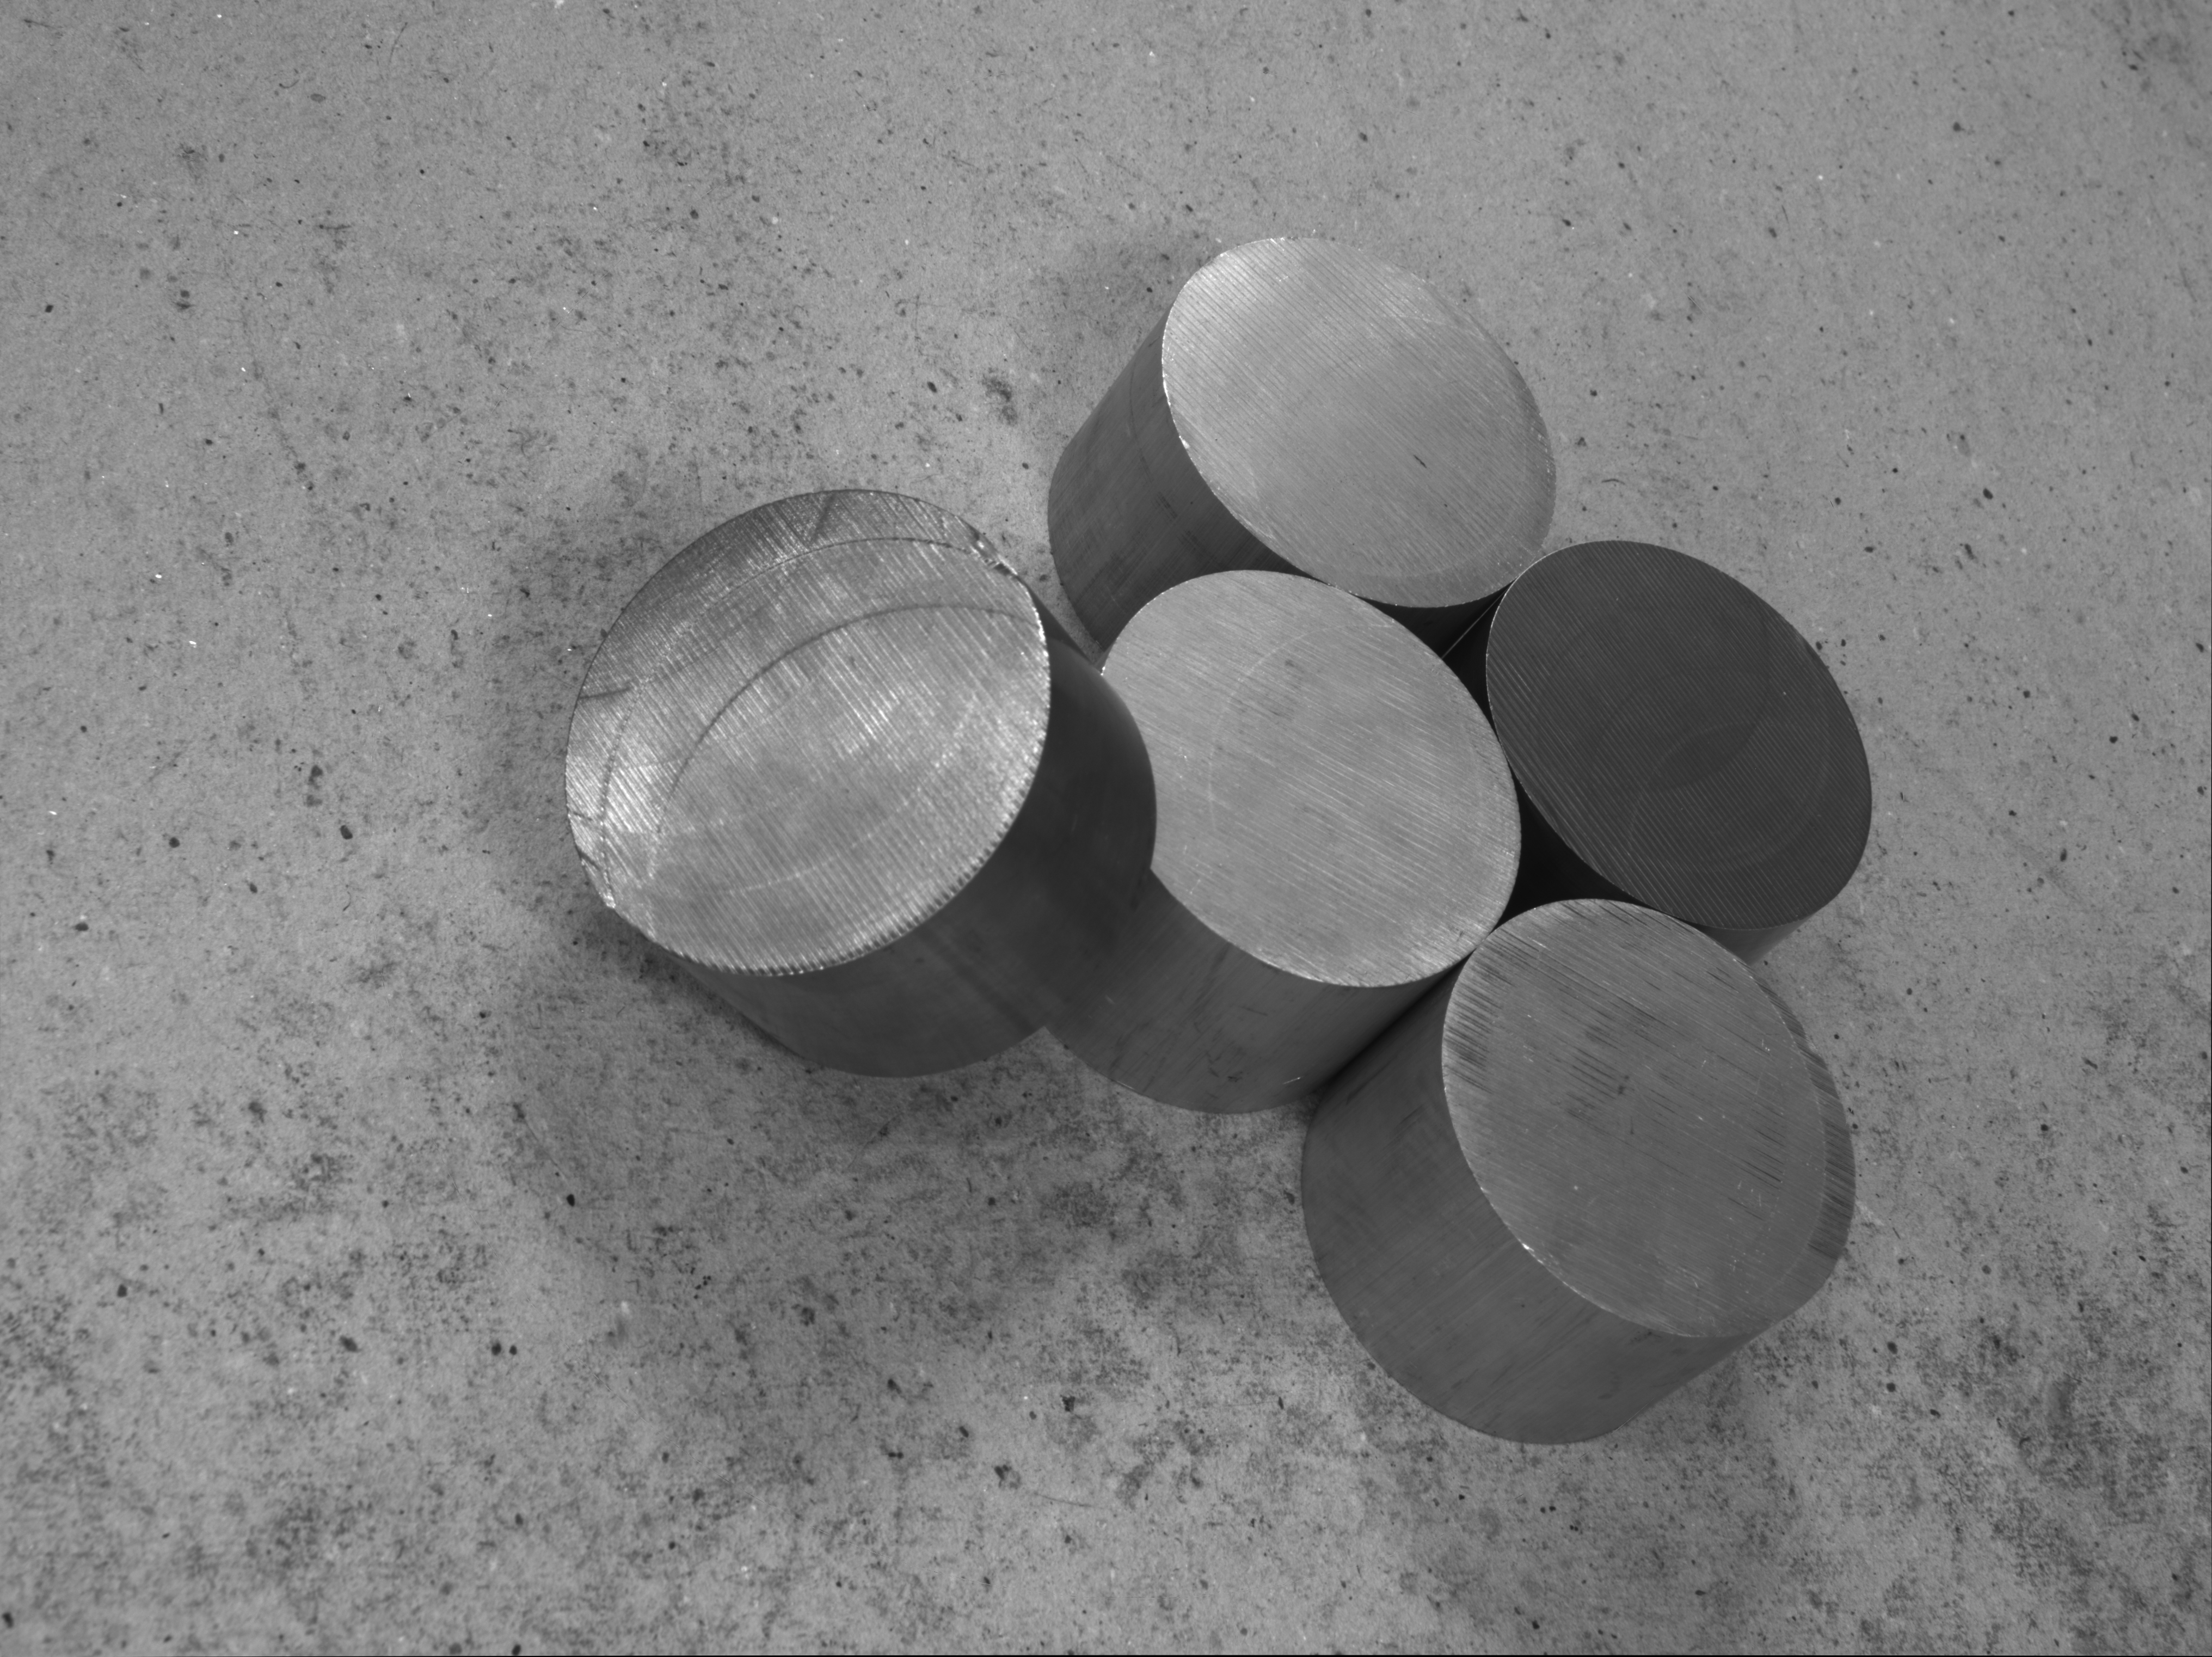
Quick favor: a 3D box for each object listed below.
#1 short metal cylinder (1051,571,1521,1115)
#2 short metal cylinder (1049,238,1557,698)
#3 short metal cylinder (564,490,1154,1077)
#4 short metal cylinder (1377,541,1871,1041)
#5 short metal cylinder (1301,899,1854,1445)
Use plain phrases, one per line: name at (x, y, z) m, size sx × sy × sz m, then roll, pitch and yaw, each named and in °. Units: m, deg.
short metal cylinder at (0.024, 0.003, 0.634) m, size 0.080 × 0.050 × 0.080 m, roll 13°, pitch 56°, yaw -21°
short metal cylinder at (0.036, -0.062, 0.680) m, size 0.080 × 0.050 × 0.080 m, roll 13°, pitch 56°, yaw -21°
short metal cylinder at (-0.038, -0.006, 0.580) m, size 0.080 × 0.050 × 0.080 m, roll -7°, pitch 66°, yaw 18°
short metal cylinder at (0.093, -0.006, 0.676) m, size 0.080 × 0.050 × 0.080 m, roll 13°, pitch 56°, yaw -21°
short metal cylinder at (0.081, 0.059, 0.630) m, size 0.080 × 0.050 × 0.080 m, roll 13°, pitch 56°, yaw -21°
